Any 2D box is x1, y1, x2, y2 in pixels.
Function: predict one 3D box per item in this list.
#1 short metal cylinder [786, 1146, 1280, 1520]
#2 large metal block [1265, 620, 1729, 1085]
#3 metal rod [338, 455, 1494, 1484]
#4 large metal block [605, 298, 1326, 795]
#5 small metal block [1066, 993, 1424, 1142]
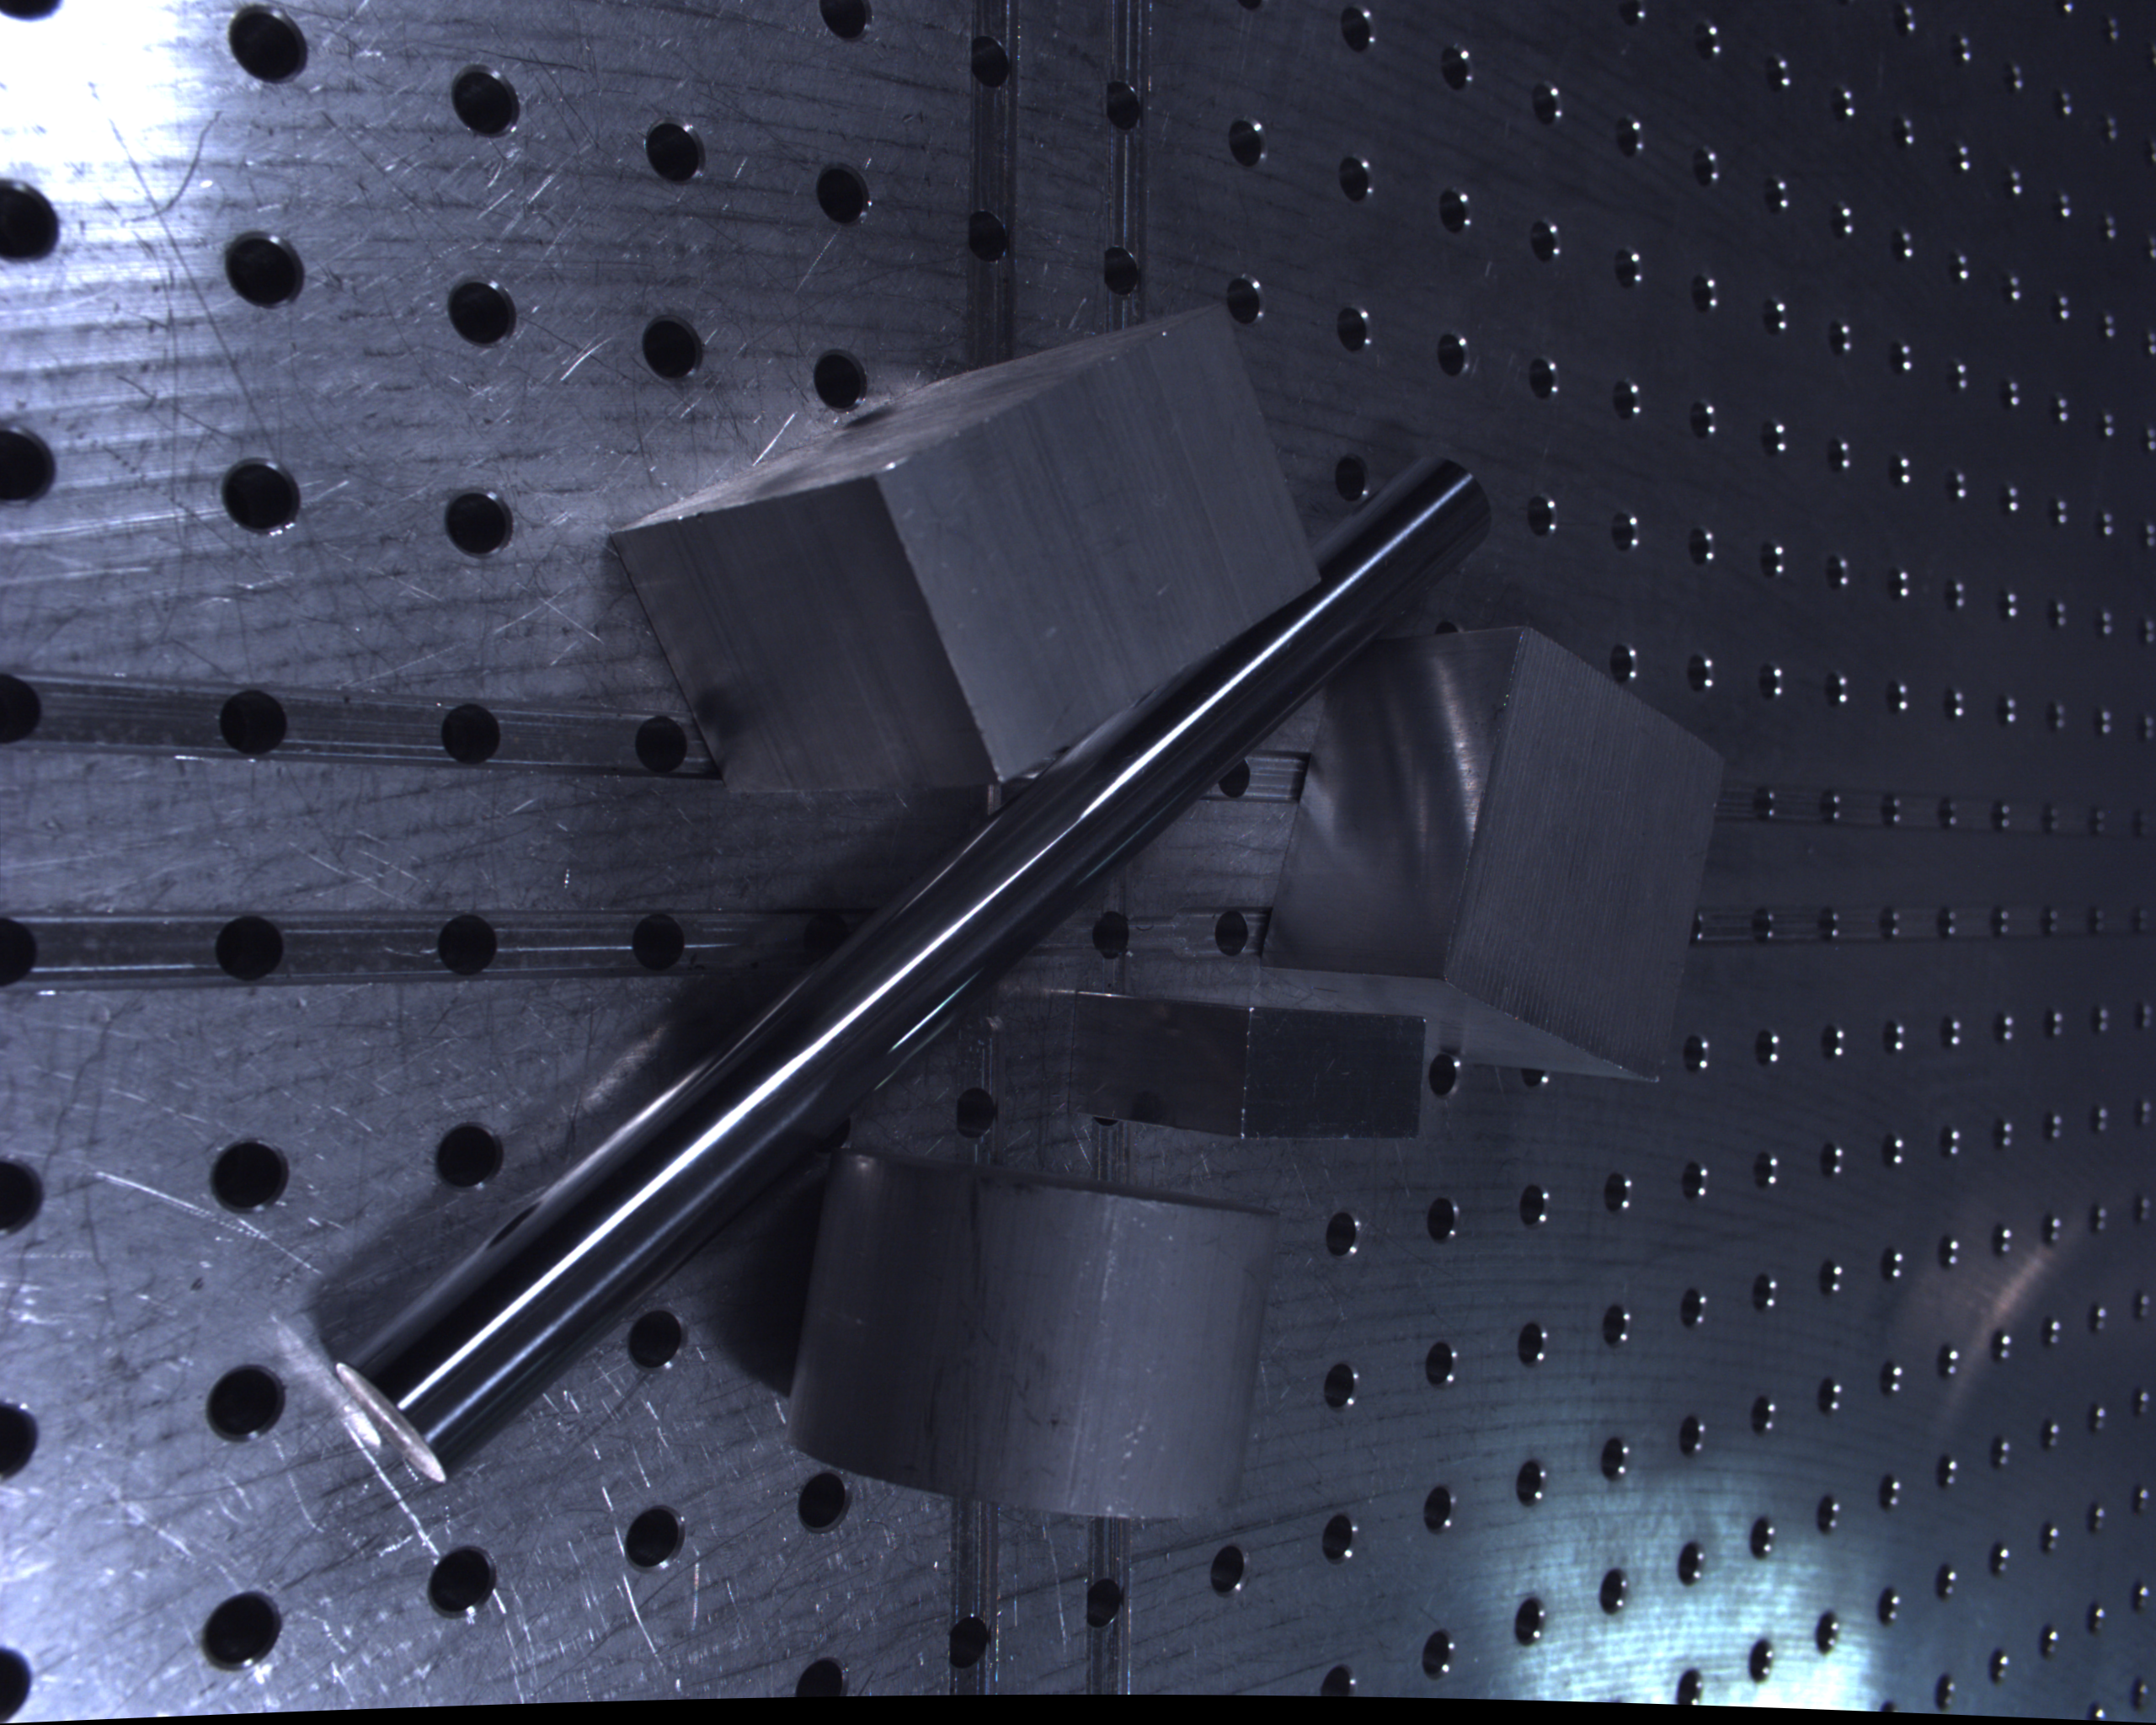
[{"bbox_3d":[-0.007,0.081,0.368,0.081,0.080,0.050,15,81,-39],"label":"short metal cylinder"},{"bbox_3d":[0.097,0.000,0.473,0.080,0.050,0.080,25,75,-38],"label":"large metal block"},{"bbox_3d":[-0.010,0.002,0.402,0.302,0.025,0.025,-42,116,-32],"label":"metal rod"},{"bbox_3d":[-0.019,-0.053,0.360,0.081,0.080,0.050,-35,112,-35],"label":"large metal block"},{"bbox_3d":[0.034,0.042,0.424,0.050,0.050,0.025,7,86,-40],"label":"small metal block"}]
